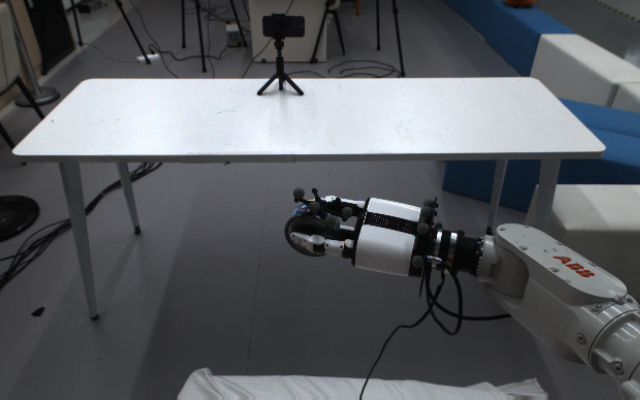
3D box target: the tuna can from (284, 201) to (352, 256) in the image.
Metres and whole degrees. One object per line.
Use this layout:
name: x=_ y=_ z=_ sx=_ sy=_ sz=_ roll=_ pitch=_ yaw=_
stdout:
tuna can: x=-0.010 y=0.049 z=0.778 sx=0.085 sy=0.085 sz=0.034 roll=9 pitch=35 yaw=10
